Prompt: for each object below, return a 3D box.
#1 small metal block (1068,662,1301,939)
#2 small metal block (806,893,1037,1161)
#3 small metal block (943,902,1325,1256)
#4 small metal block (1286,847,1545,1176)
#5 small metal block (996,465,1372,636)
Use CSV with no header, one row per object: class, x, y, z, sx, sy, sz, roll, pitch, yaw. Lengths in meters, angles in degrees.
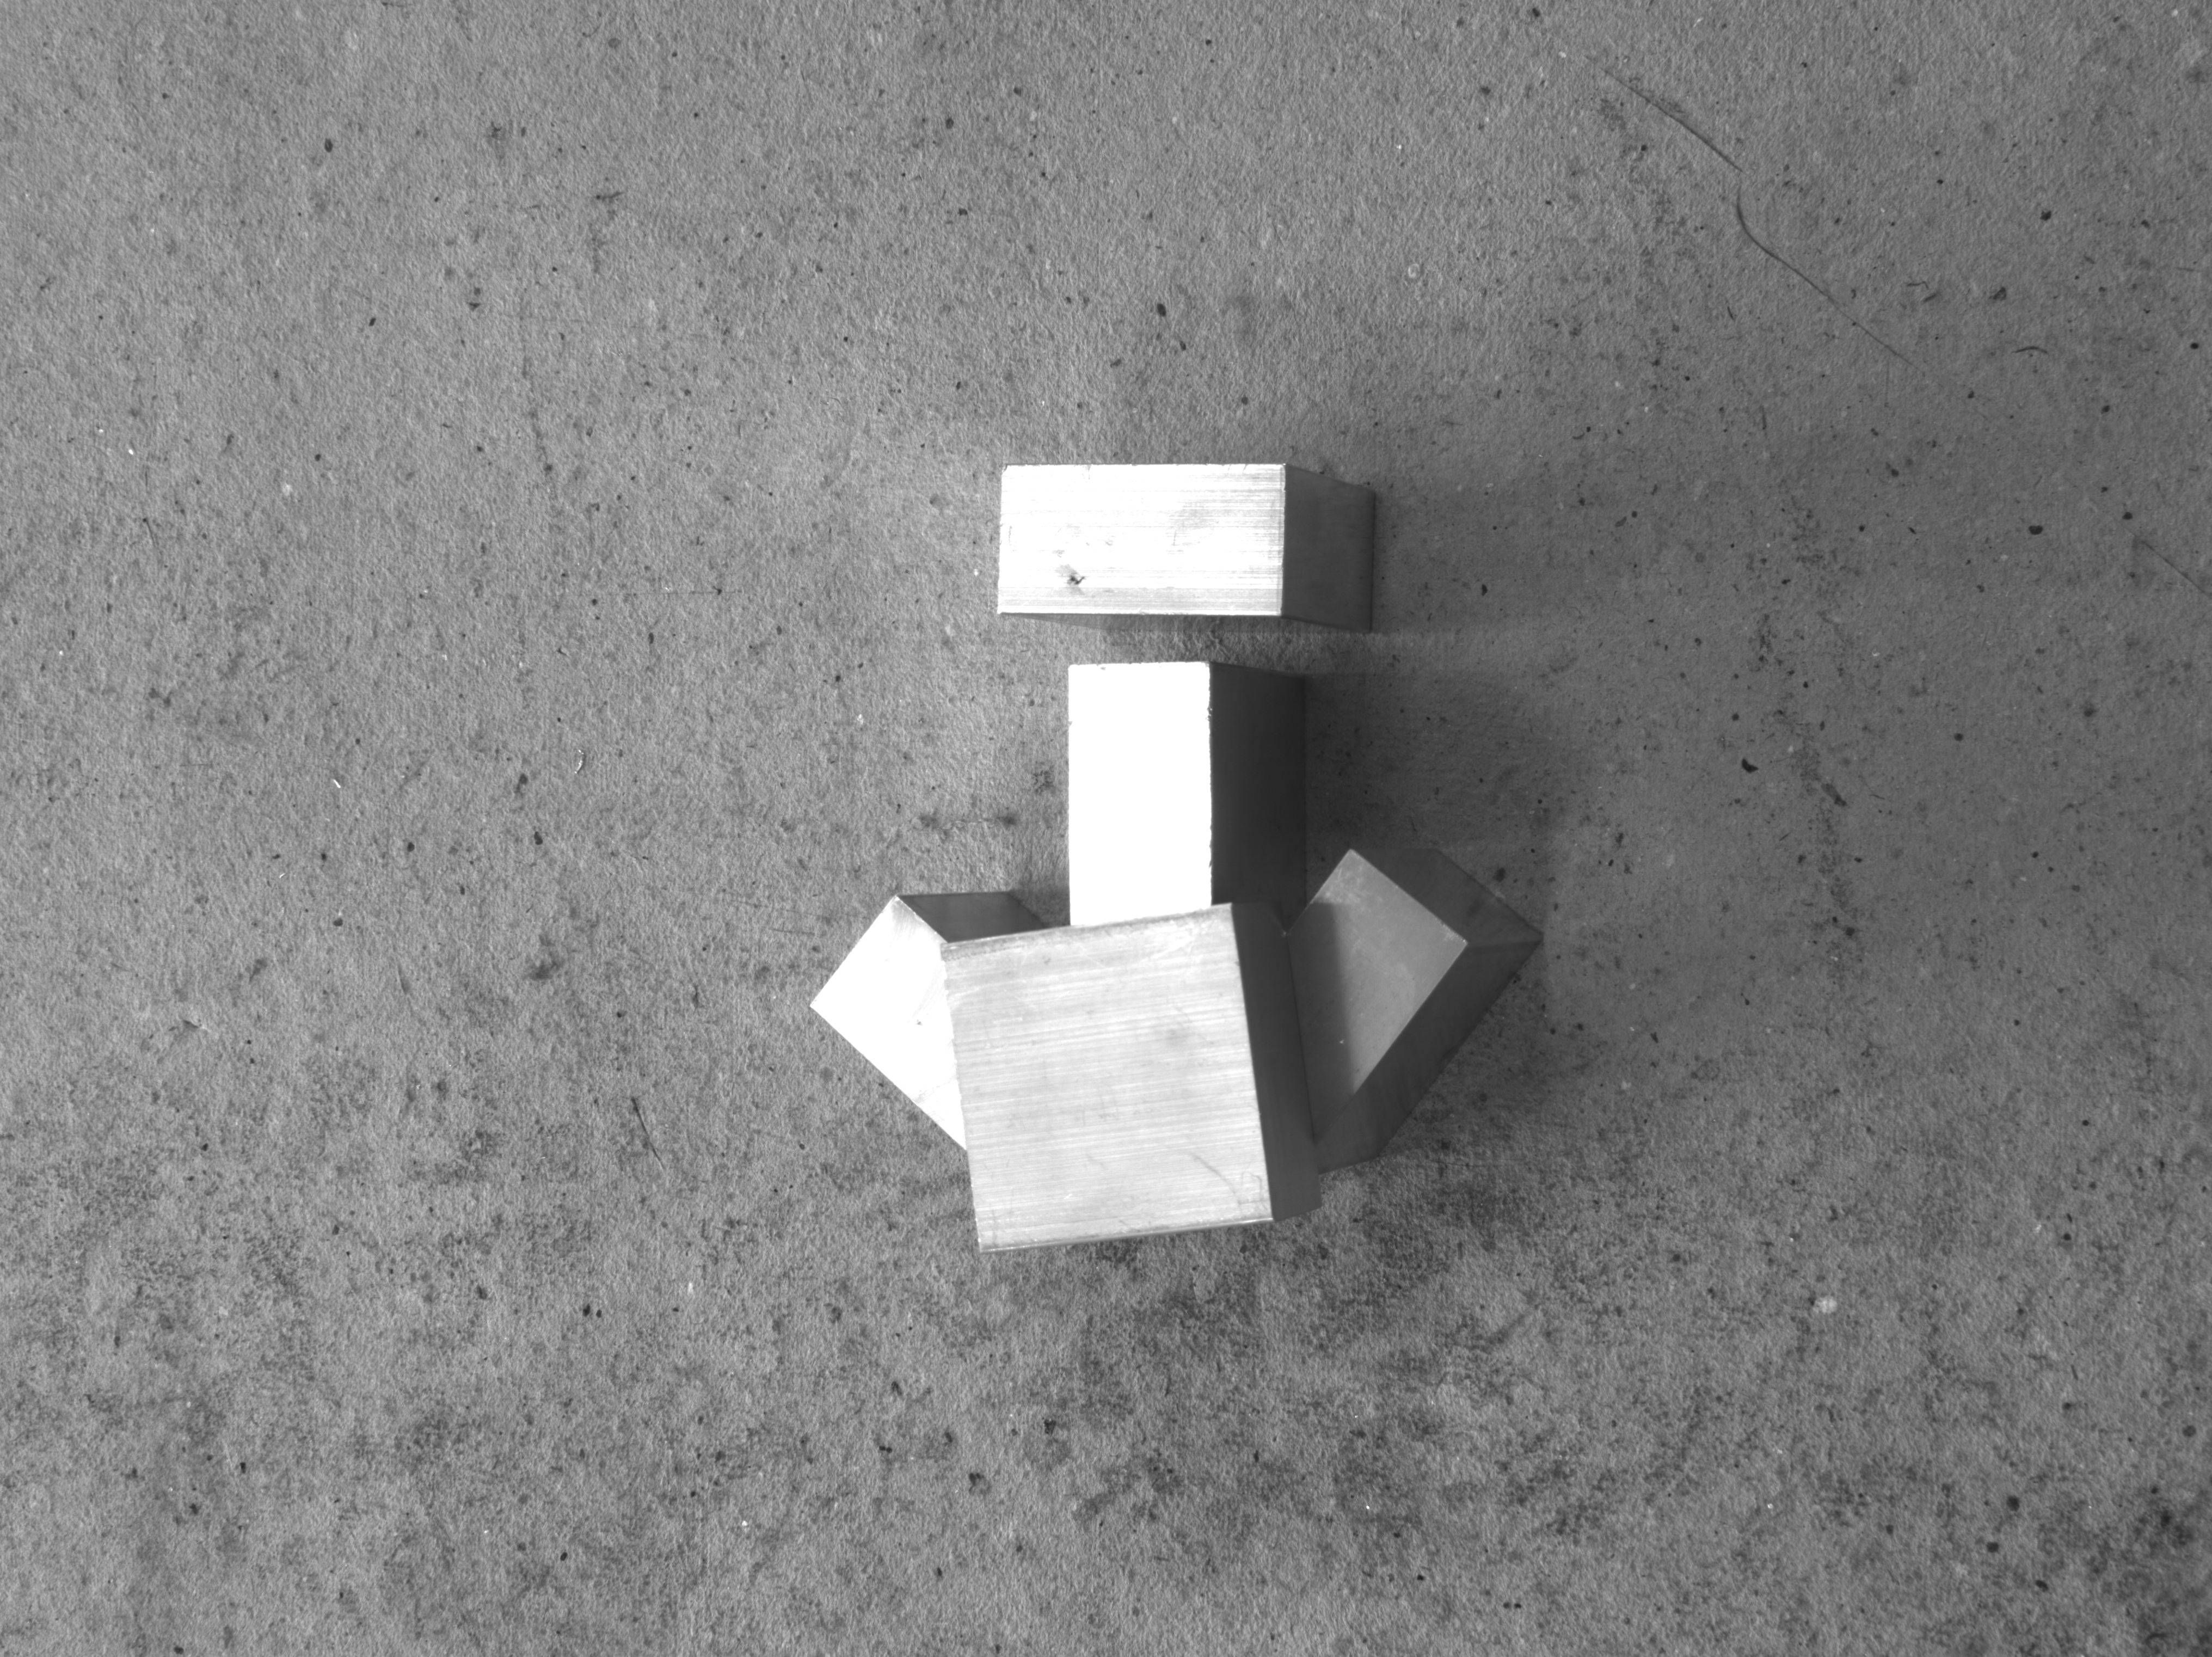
small metal block,0.014,-0.002,0.629,0.025,0.050,0.050,-1,89,19
small metal block,-0.017,0.037,0.639,0.050,0.050,0.025,41,103,14
small metal block,0.005,0.040,0.593,0.050,0.025,0.050,-9,86,20
small metal block,0.043,0.031,0.618,0.025,0.050,0.050,39,103,16
small metal block,0.014,-0.047,0.628,0.050,0.050,0.025,2,90,20
